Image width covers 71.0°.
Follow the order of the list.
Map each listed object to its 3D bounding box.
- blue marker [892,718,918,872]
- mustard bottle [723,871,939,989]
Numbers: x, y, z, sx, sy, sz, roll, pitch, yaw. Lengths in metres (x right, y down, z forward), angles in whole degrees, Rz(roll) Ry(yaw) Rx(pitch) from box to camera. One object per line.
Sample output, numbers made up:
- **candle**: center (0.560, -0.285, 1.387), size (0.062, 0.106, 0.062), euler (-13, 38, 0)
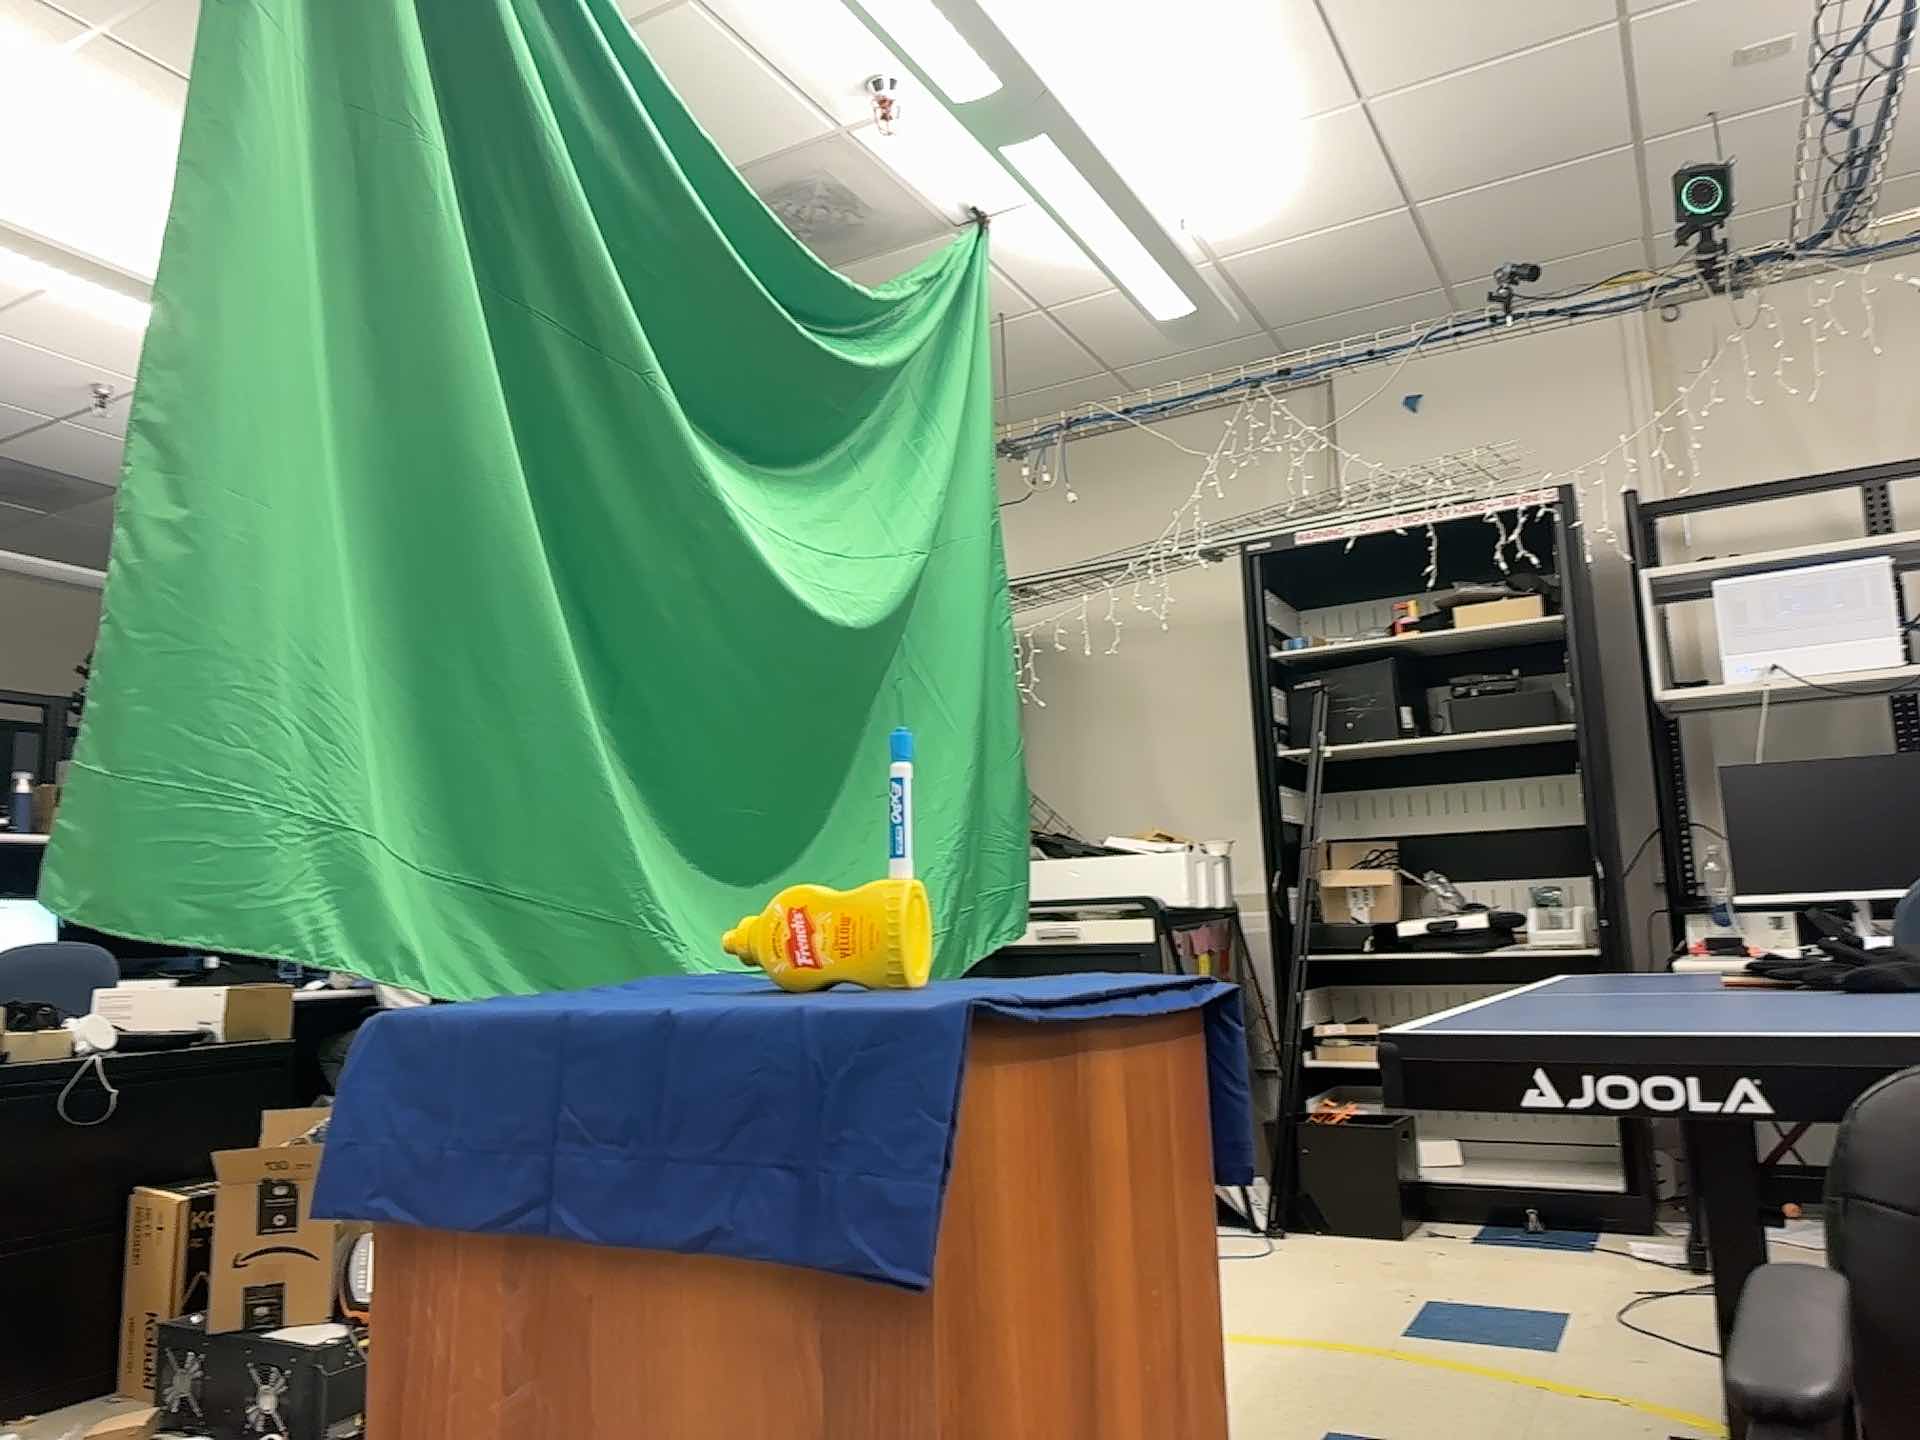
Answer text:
- **blue marker**: center (-0.044, 0.059, 1.069), size (0.020, 0.121, 0.020), euler (-1, -10, 0)
- **mustard bottle**: center (-0.110, 0.170, 1.083), size (0.184, 0.092, 0.054), euler (-5, -2, 23)
